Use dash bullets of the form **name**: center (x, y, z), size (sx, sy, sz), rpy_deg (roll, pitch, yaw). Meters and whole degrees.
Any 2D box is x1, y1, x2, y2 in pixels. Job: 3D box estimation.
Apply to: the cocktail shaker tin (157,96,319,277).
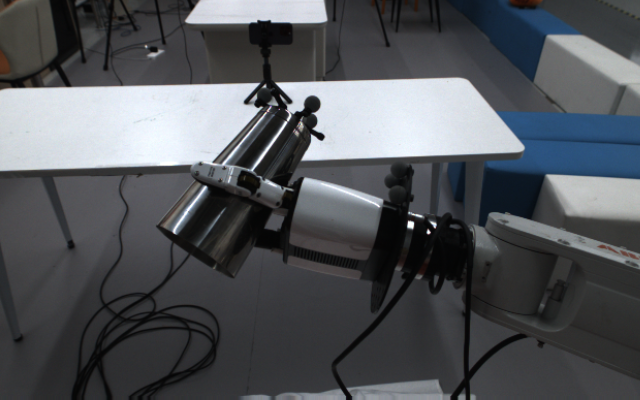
- **cocktail shaker tin**: center (-0.080, -0.018, 0.506), size (0.093, 0.093, 0.170), rpy_deg (22, 67, 26)
